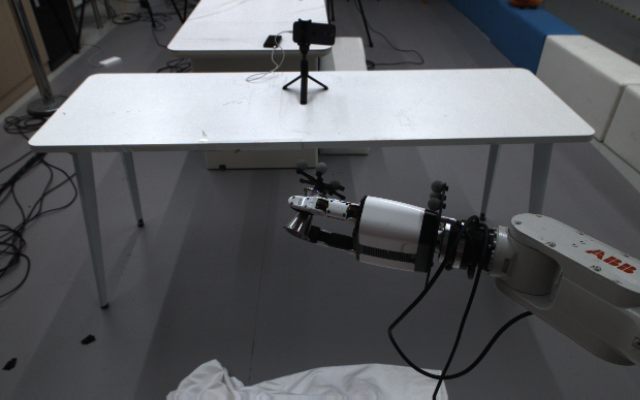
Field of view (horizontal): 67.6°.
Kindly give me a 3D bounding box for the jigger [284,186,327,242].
[{"bbox_3d":[-0.022,0.017,0.711,0.043,0.043,0.071,21,73,25],"label":"jigger"}]
